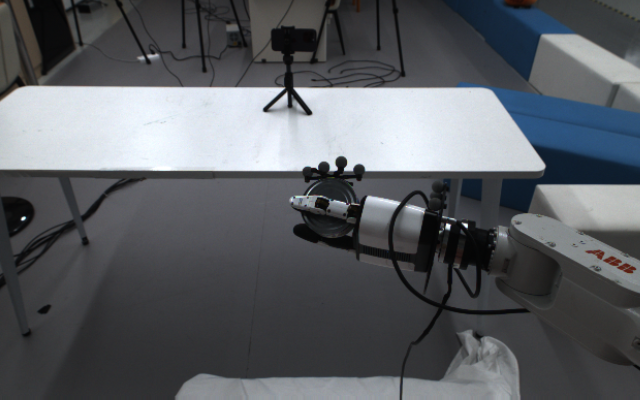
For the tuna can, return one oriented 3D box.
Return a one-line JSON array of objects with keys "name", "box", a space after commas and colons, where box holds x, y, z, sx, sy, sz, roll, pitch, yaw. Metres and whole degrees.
[{"name": "tuna can", "box": [0.017, 0.012, 0.713, 0.085, 0.034, 0.085, -5, 72, 14]}]
